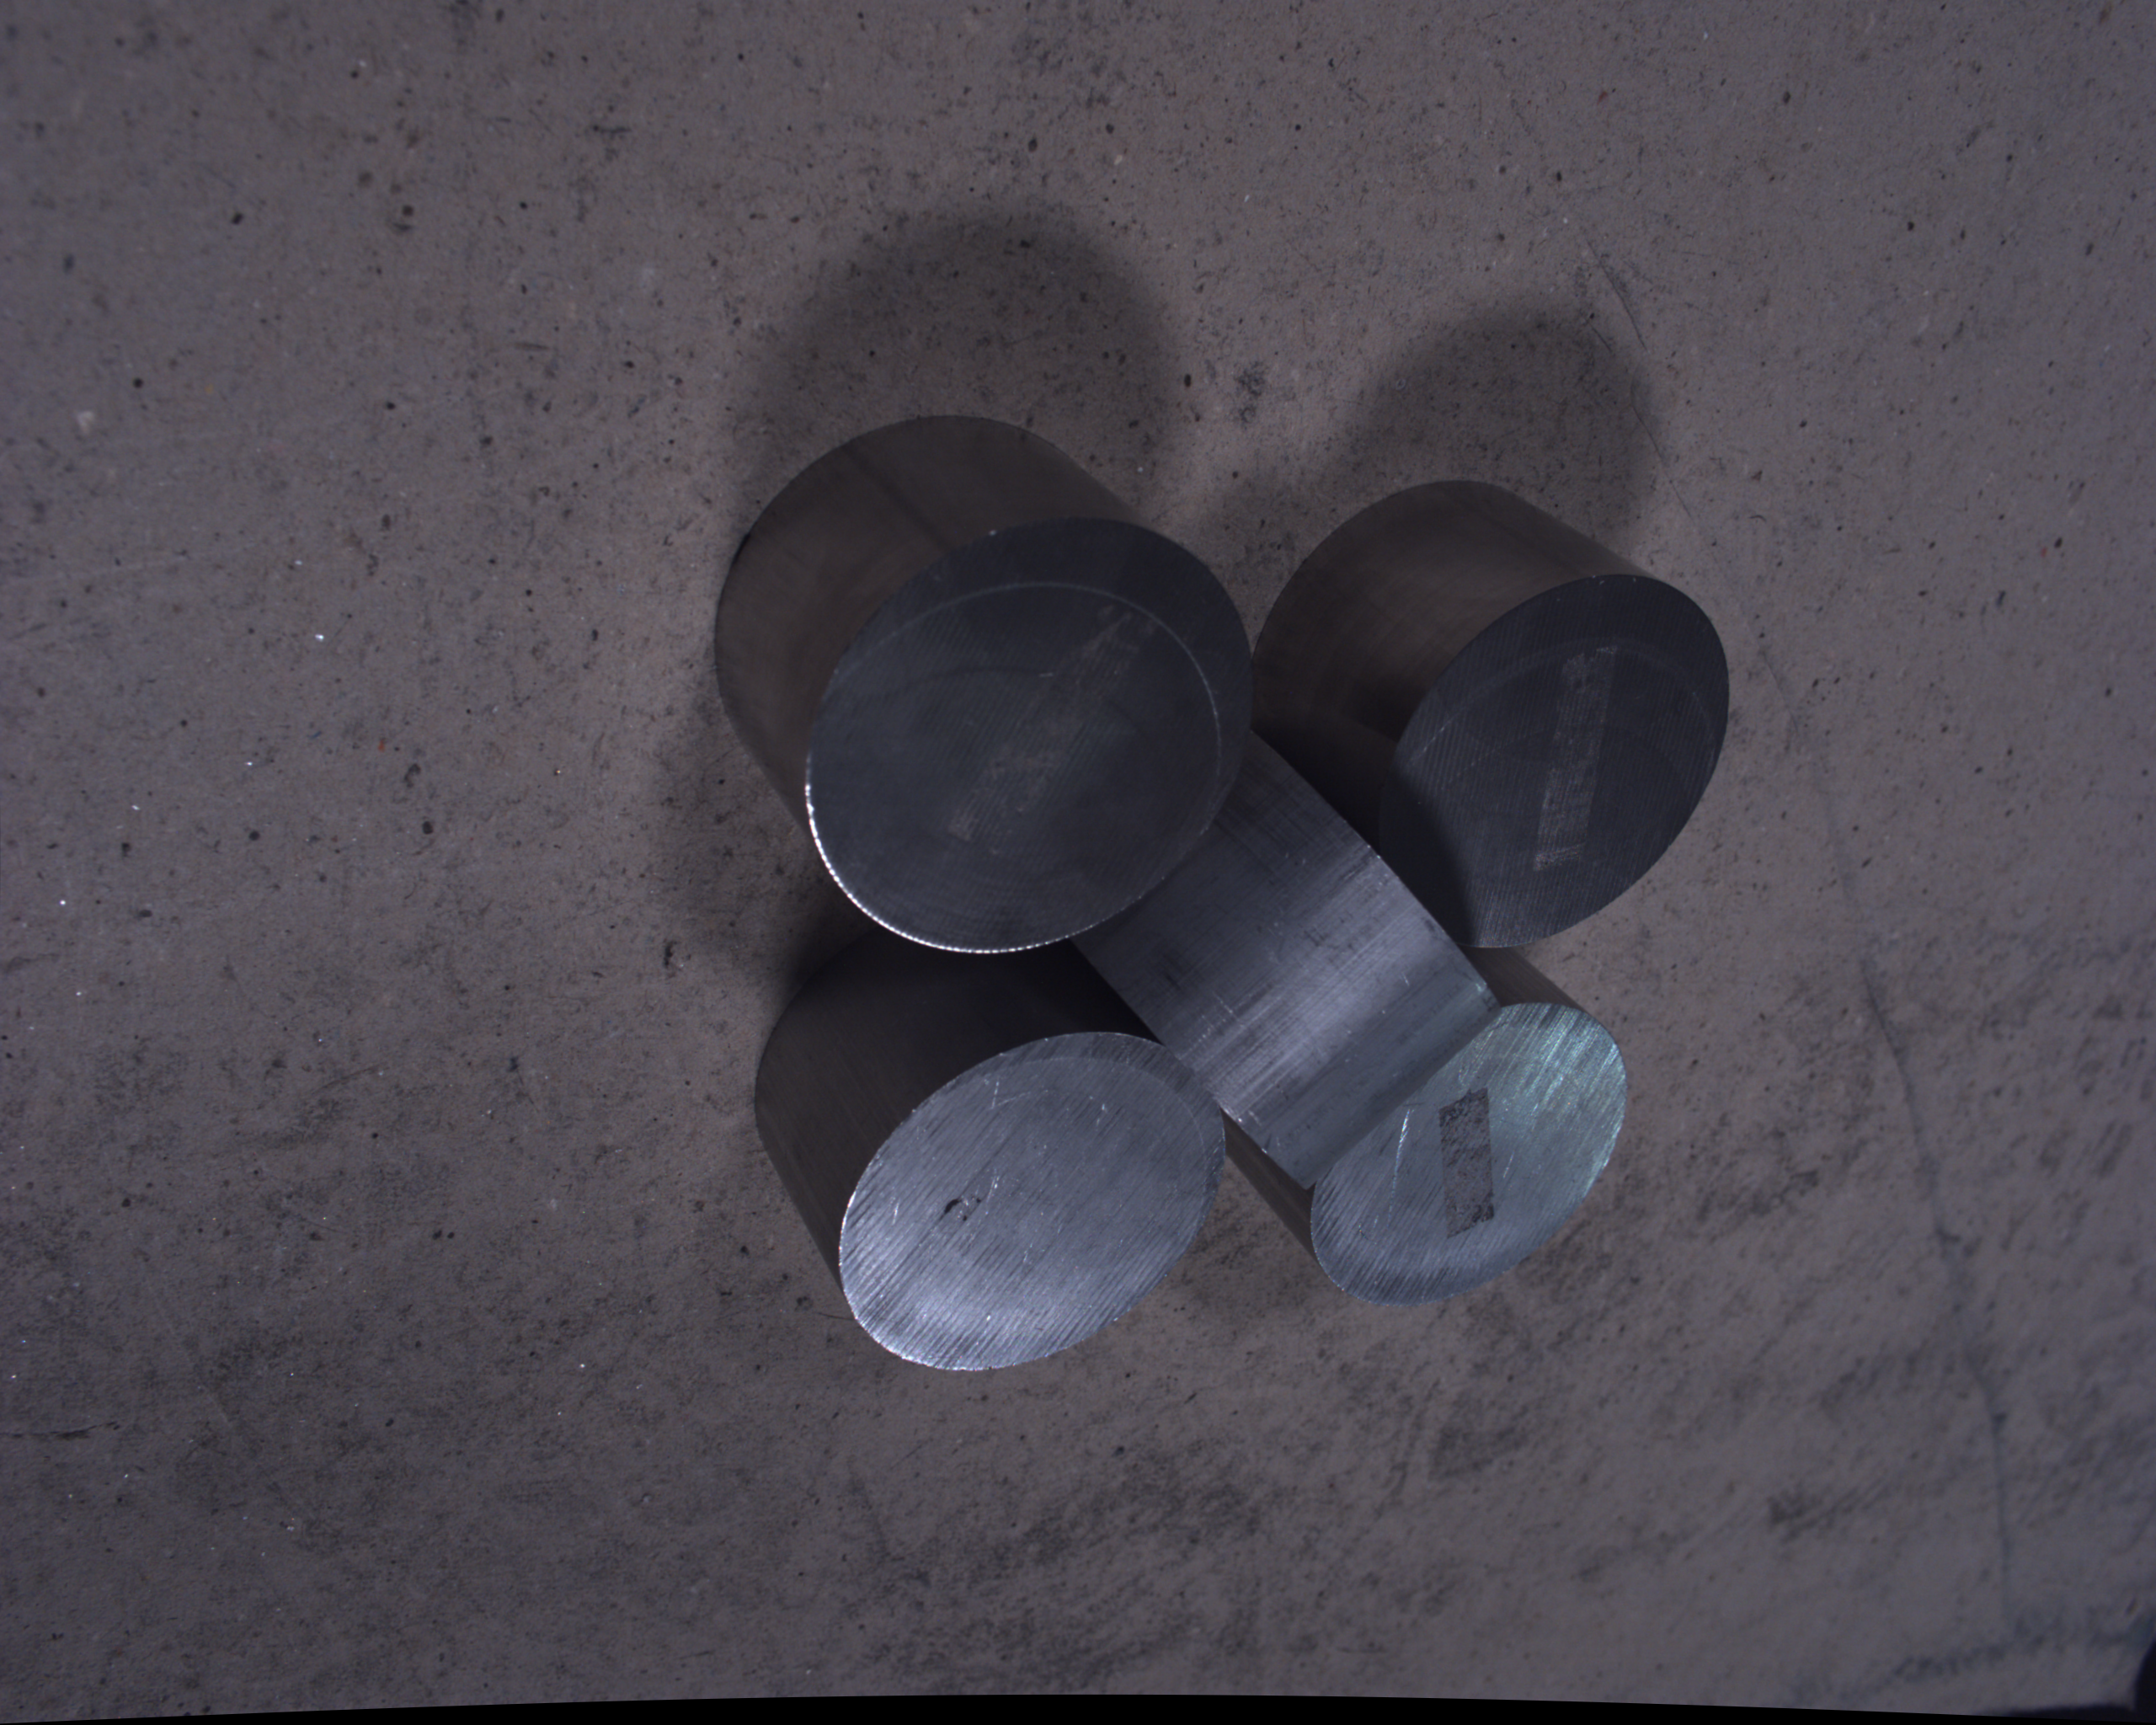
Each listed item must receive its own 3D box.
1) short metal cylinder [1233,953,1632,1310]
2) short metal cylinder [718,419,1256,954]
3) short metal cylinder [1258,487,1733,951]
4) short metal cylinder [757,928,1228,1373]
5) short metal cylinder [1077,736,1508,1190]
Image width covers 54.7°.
[{"bbox_3d":[0.075,0.052,0.466,0.081,0.050,0.079,-14,125,-21],"label":"short metal cylinder"},{"bbox_3d":[-0.016,-0.031,0.364,0.081,0.050,0.079,-14,125,-21],"label":"short metal cylinder"},{"bbox_3d":[0.082,-0.029,0.419,0.081,0.050,0.079,-14,125,-21],"label":"short metal cylinder"},{"bbox_3d":[-0.017,0.054,0.416,0.081,0.050,0.079,-14,125,-21],"label":"short metal cylinder"},{"bbox_3d":[0.037,0.017,0.405,0.050,0.080,0.080,-43,130,1],"label":"short metal cylinder"}]
